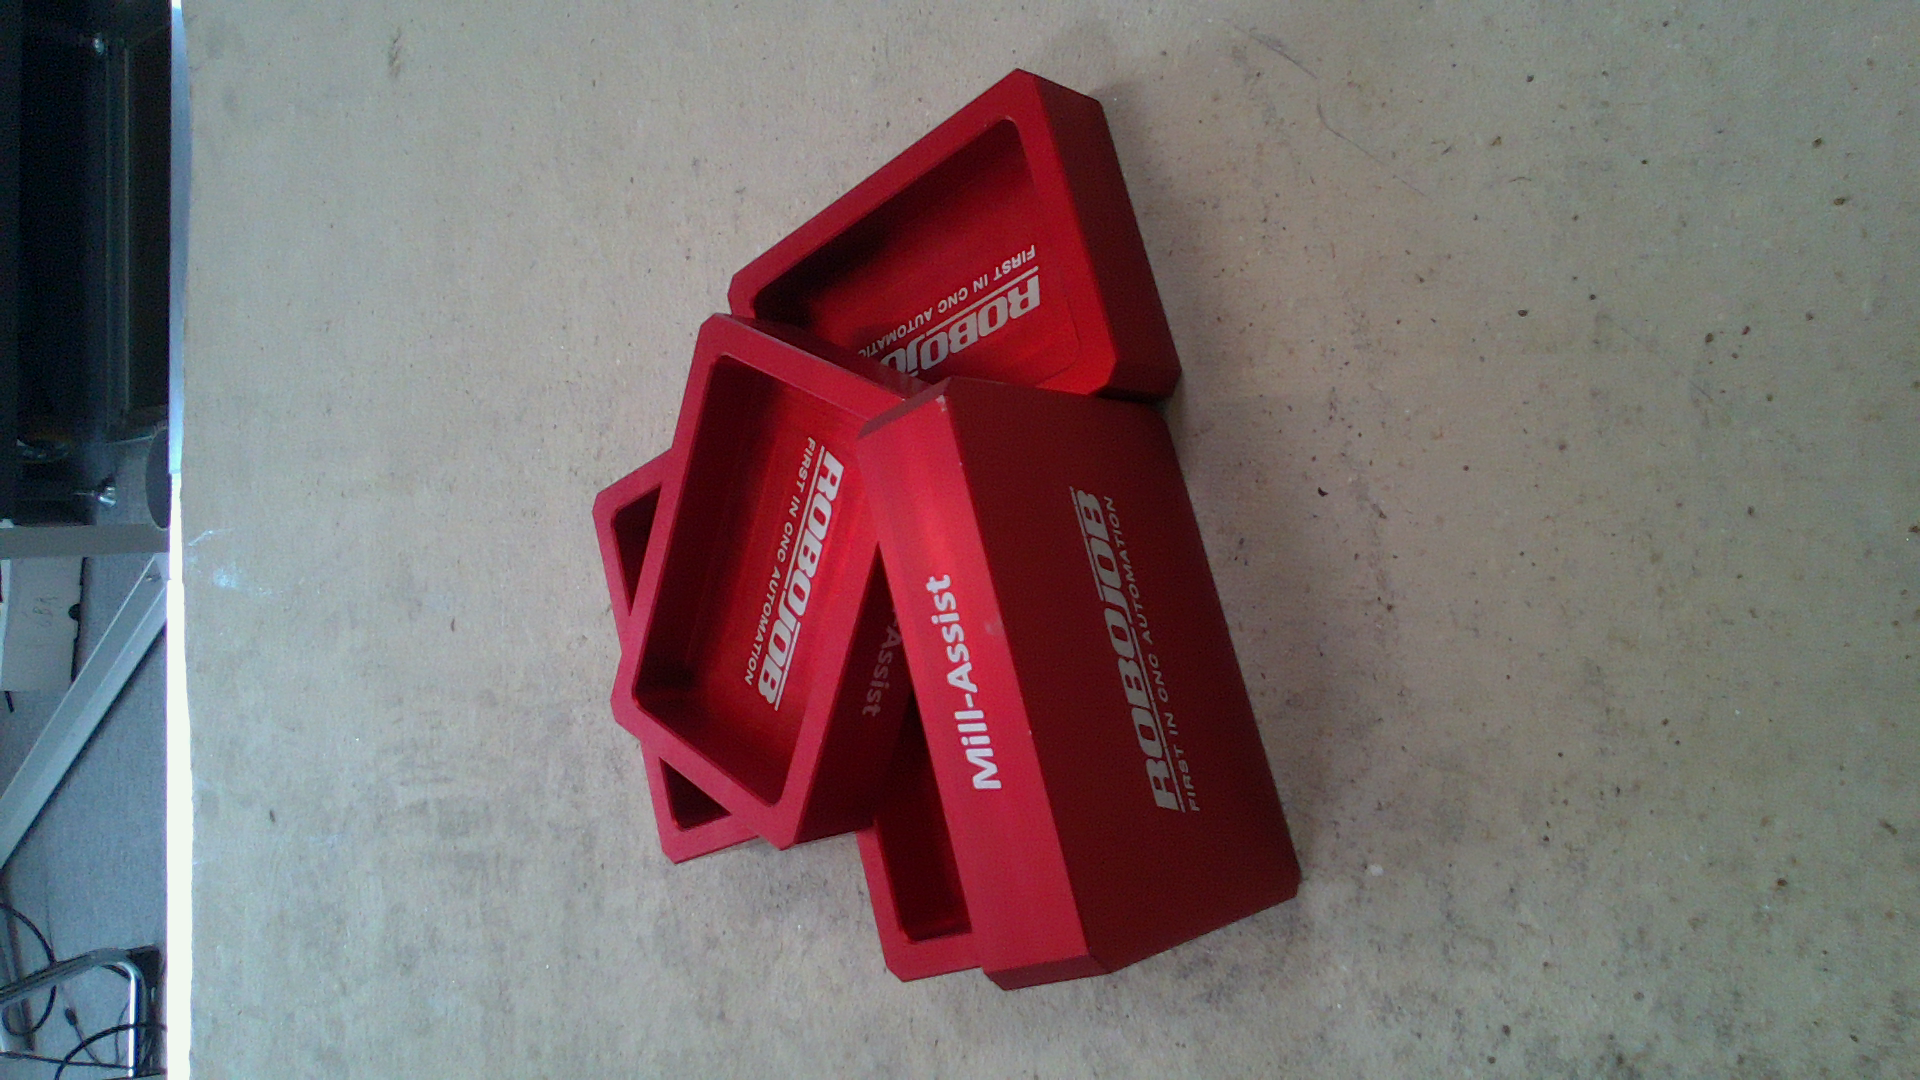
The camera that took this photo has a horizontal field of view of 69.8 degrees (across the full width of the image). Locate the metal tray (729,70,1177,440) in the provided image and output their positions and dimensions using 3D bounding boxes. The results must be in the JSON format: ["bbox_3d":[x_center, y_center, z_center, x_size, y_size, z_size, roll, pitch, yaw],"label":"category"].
[{"bbox_3d":[-0.008,-0.062,0.400,0.129,0.030,0.090,-24,75,38],"label":"metal tray"}]

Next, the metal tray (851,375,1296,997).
[{"bbox_3d":[0.029,0.030,0.325,0.030,0.090,0.130,-23,76,38],"label":"metal tray"}]

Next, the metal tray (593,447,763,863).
[{"bbox_3d":[-0.073,0.032,0.452,0.090,0.030,0.130,-24,74,38],"label":"metal tray"}]

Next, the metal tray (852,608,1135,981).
[{"bbox_3d":[0.004,0.049,0.386,0.090,0.030,0.130,-25,75,38],"label":"metal tray"}]

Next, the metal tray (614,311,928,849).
[{"bbox_3d":[-0.050,0.009,0.396,0.090,0.030,0.130,28,108,37],"label":"metal tray"}]
